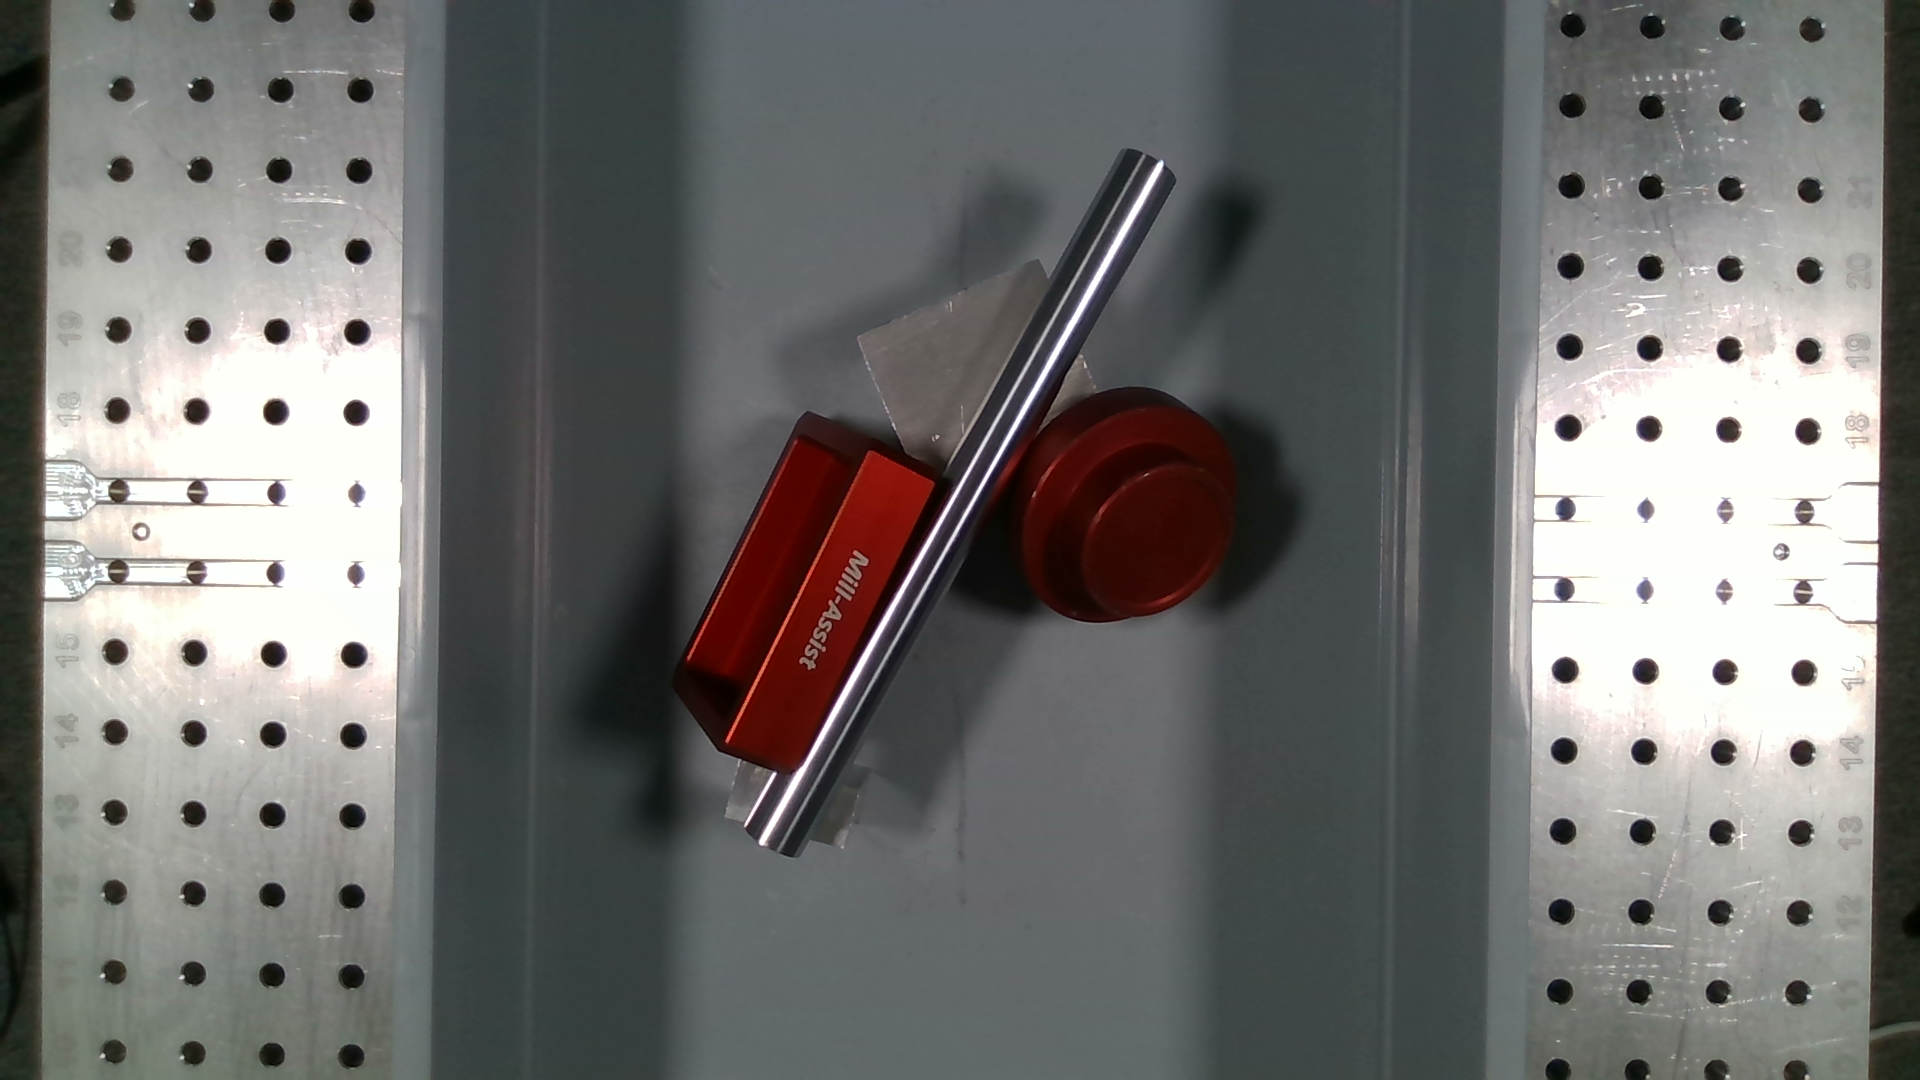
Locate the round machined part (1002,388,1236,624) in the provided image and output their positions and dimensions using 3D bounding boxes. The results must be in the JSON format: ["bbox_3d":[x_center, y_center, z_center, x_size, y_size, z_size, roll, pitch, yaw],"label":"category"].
[{"bbox_3d":[0.069,-0.008,0.552,0.098,0.042,0.098,-13,124,-20],"label":"round machined part"}]

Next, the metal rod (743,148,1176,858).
[{"bbox_3d":[0.000,-0.014,0.534,0.025,0.025,0.300,29,90,0],"label":"metal rod"}]

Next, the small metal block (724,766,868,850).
[{"bbox_3d":[-0.067,0.105,0.574,0.050,0.050,0.025,14,90,0],"label":"small metal block"}]

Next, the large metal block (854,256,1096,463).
[{"bbox_3d":[0.010,-0.061,0.573,0.080,0.050,0.080,-23,90,0],"label":"large metal block"}]

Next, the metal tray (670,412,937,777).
[{"bbox_3d":[-0.065,0.018,0.550,0.030,0.090,0.130,26,91,-28],"label":"metal tray"}]
